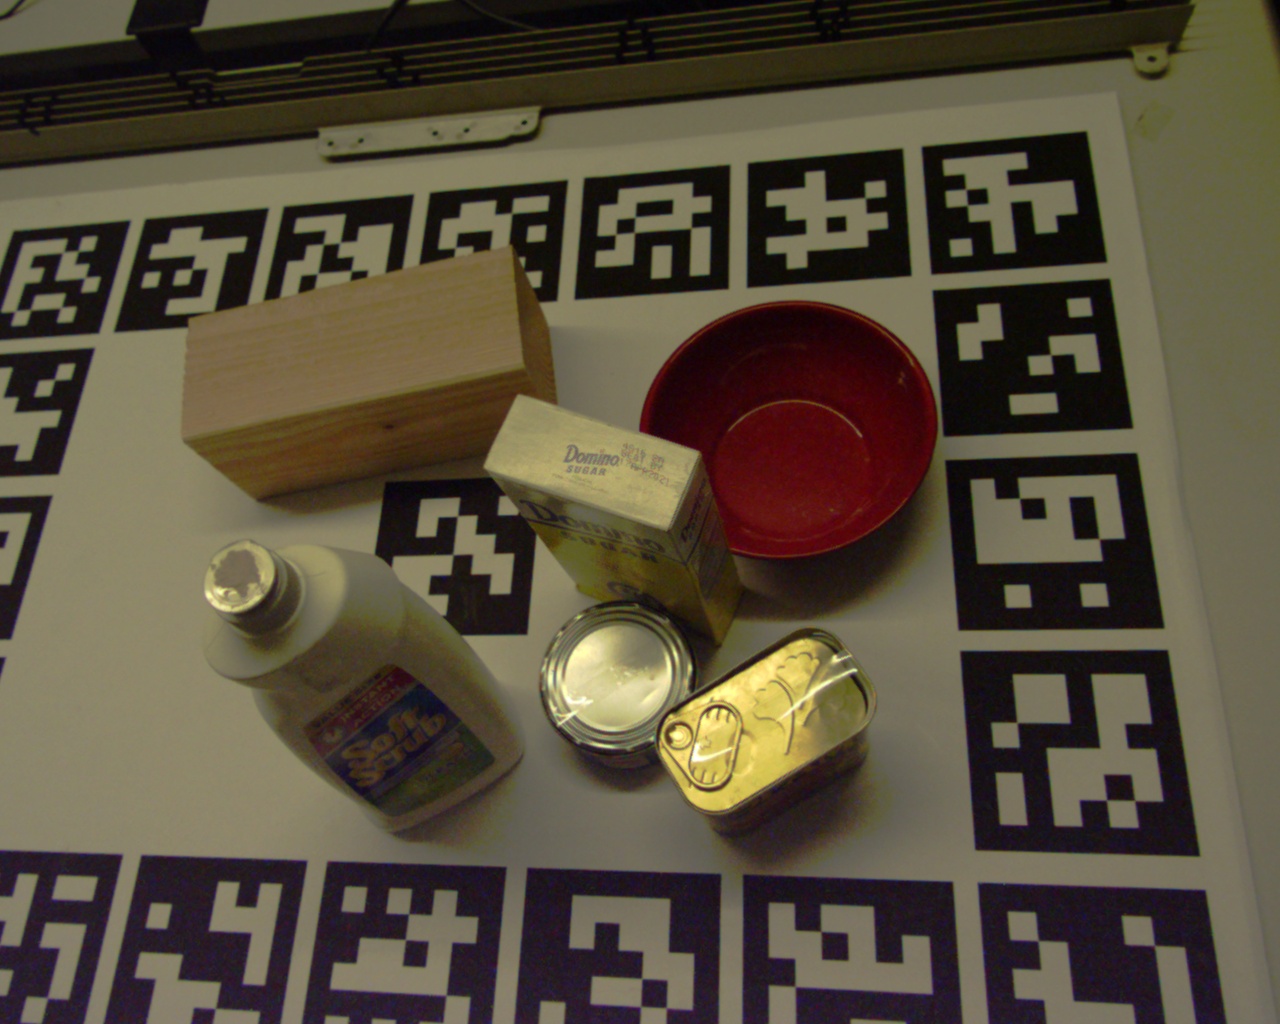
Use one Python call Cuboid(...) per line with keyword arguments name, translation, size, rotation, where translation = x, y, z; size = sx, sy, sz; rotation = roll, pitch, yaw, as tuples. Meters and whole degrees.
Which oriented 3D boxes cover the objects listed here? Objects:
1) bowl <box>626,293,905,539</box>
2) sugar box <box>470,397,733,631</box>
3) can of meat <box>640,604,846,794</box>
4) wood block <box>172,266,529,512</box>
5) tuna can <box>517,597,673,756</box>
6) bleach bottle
Cuboid(name="bowl", translation=(0.075, -0.048, 0.677), size=(0.163, 0.054, 0.162), rotation=(-7, 64, 13))
Cuboid(name="sugar box", translation=(-0.014, 0.007, 0.601), size=(0.094, 0.175, 0.045), rotation=(15, 71, 21))
Cuboid(name="can of meat", translation=(0.057, 0.103, 0.599), size=(0.101, 0.083, 0.058), rotation=(-31, 60, -5))
Cuboid(name="wood block", translation=(-0.182, -0.076, 0.731), size=(0.207, 0.089, 0.091), rotation=(-13, 68, 5))
Cuboid(name="tuna can", translation=(-0.024, 0.093, 0.642), size=(0.086, 0.033, 0.086), rotation=(-5, 68, 11))
Cuboid(name="bleach bottle", translation=(-0.140, 0.080, 0.557), size=(0.102, 0.249, 0.068), rotation=(-28, 62, -2))
